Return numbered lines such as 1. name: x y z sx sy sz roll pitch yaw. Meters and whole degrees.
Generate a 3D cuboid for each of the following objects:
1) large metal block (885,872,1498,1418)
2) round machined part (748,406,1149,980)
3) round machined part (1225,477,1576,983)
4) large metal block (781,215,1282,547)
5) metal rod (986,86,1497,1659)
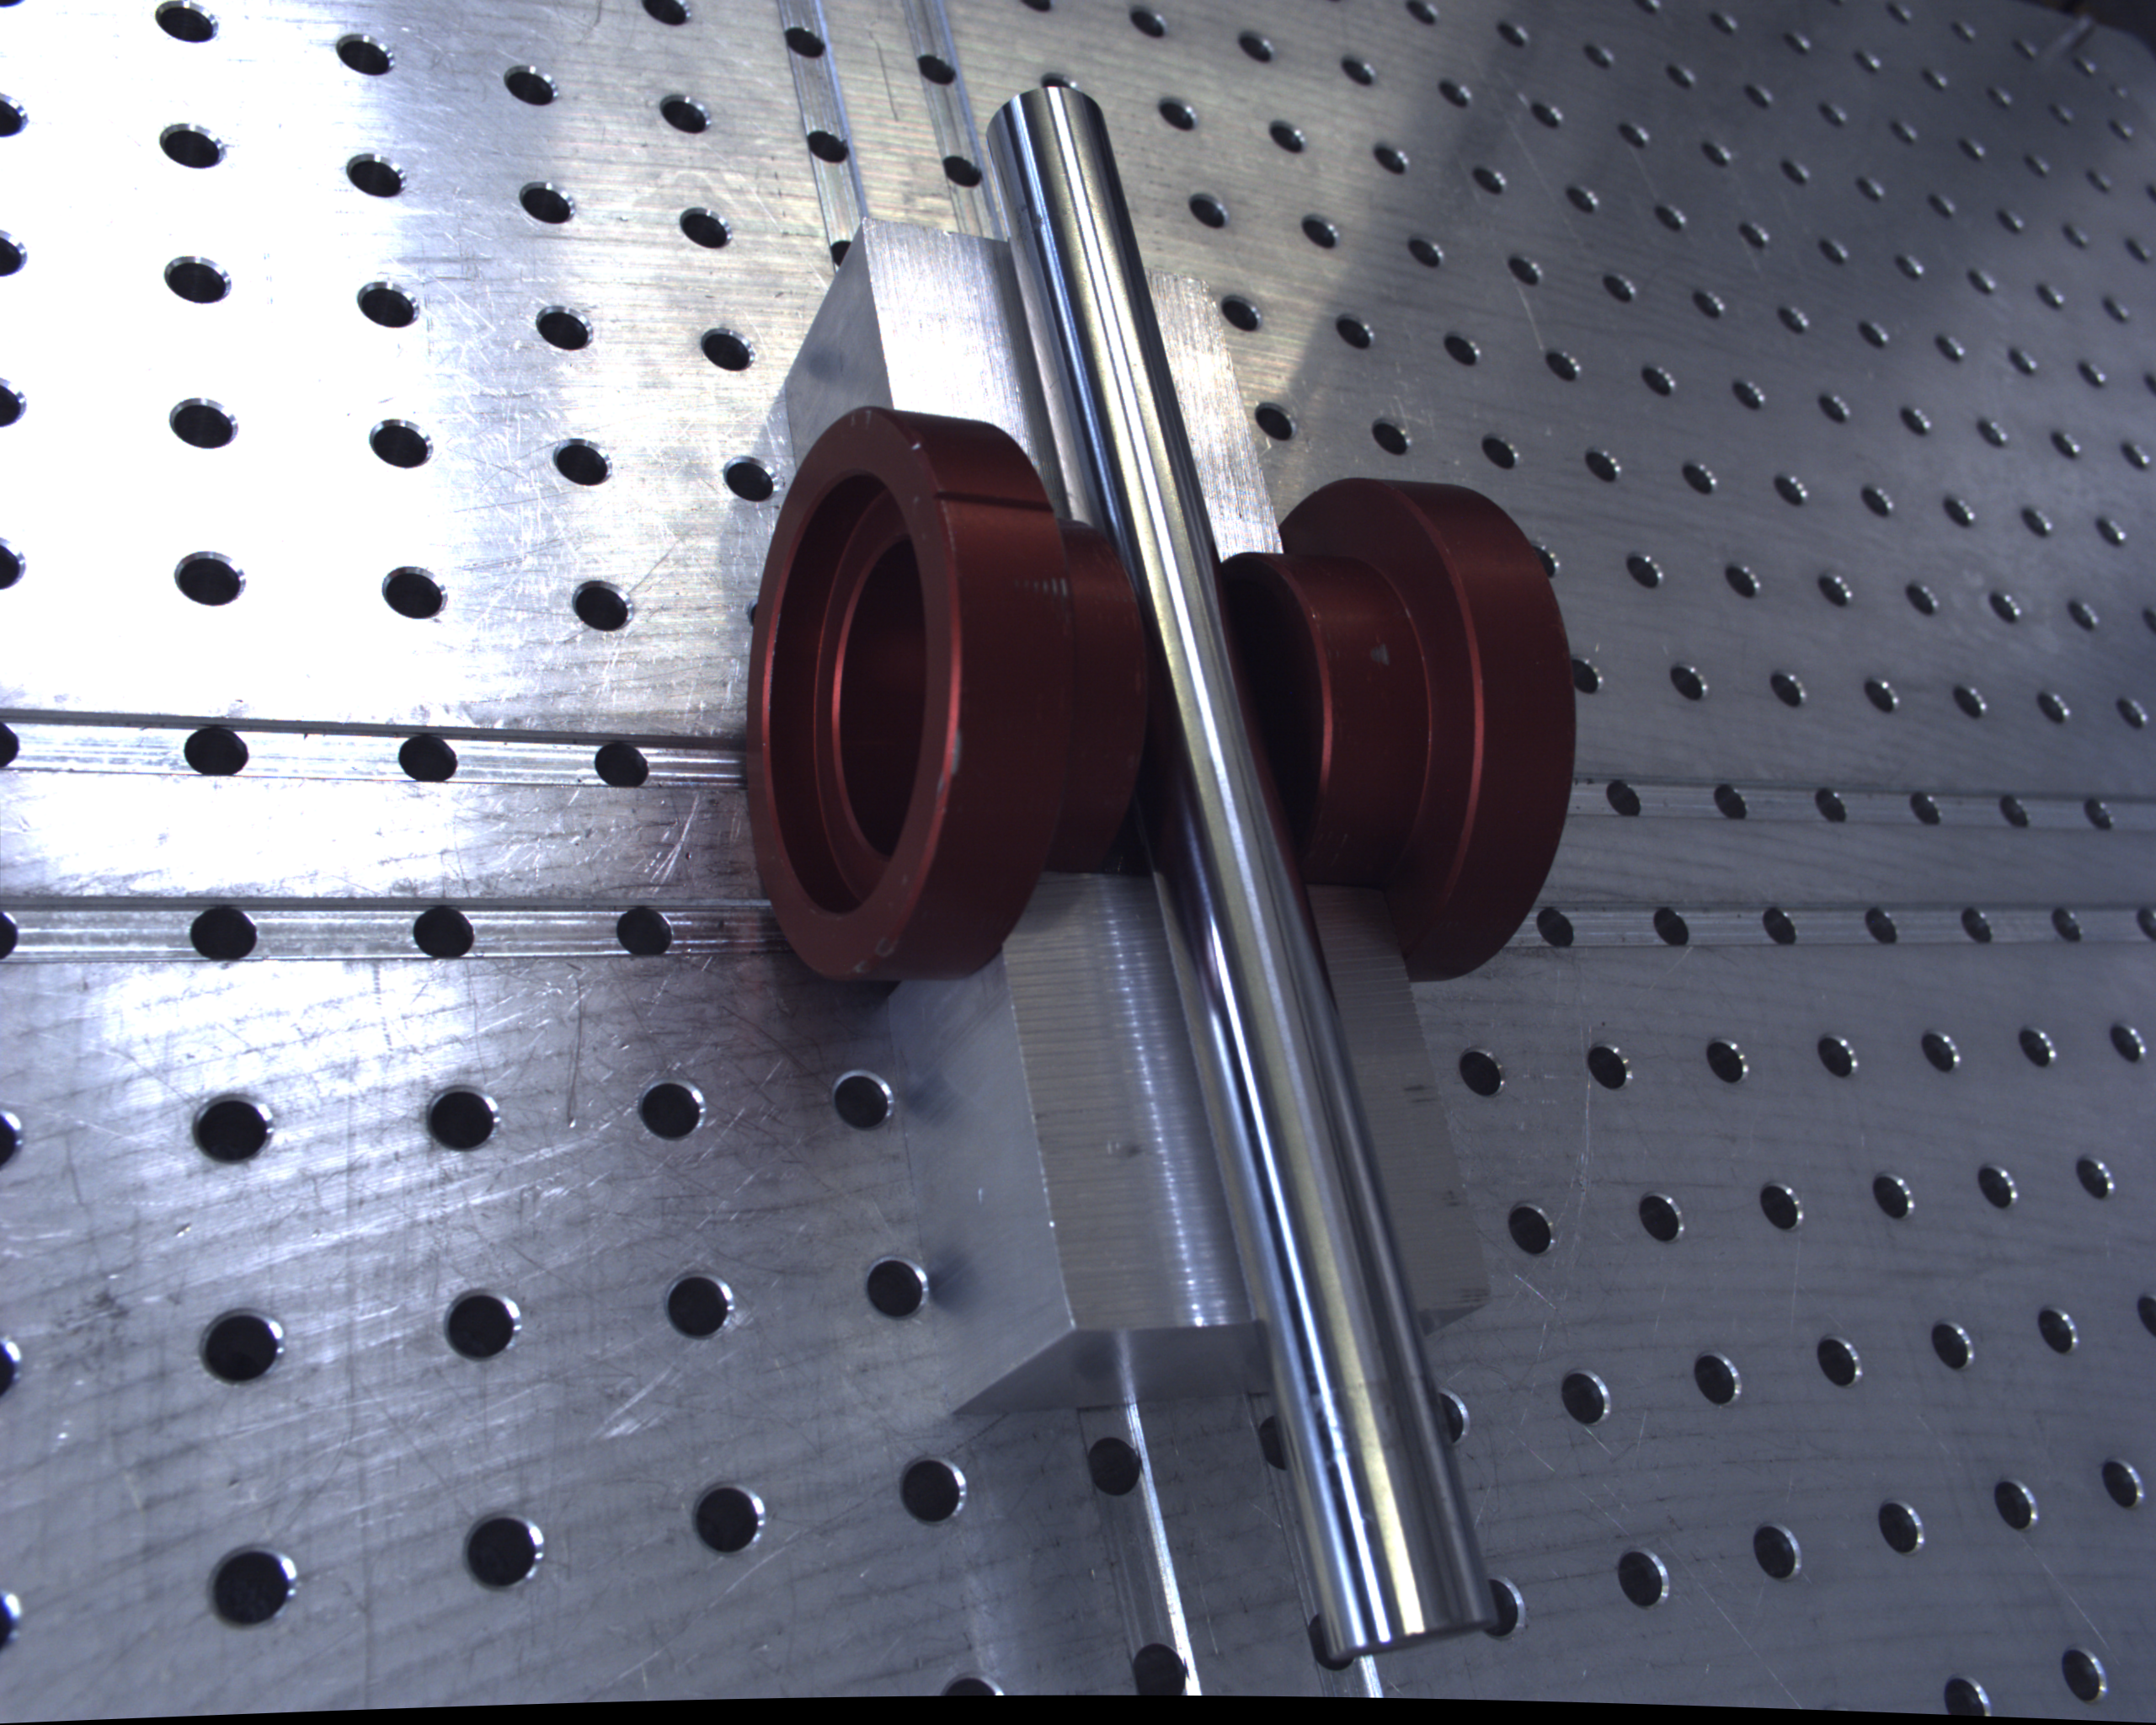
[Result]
1. large metal block: 0.017 0.049 0.371 0.081 0.050 0.080 3 61 -27
2. round machined part: -0.022 -0.028 0.365 0.042 0.097 0.098 2 61 -27
3. round machined part: 0.049 -0.025 0.403 0.042 0.097 0.098 -1 62 -23
4. large metal block: -0.011 -0.081 0.435 0.081 0.050 0.080 2 61 -27
5. metal rod: 0.021 -0.019 0.367 0.025 0.025 0.299 3 61 -27
